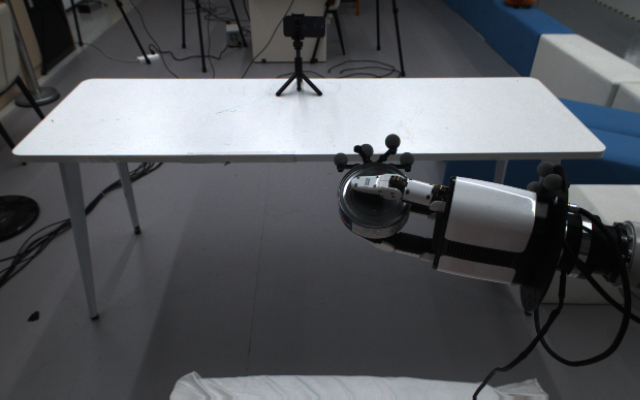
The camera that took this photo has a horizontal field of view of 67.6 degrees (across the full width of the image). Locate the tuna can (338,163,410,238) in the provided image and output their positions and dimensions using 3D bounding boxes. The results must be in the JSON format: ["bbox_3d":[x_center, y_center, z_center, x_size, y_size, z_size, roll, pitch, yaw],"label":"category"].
[{"bbox_3d":[0.064,0.000,0.559,0.085,0.034,0.085,-2,58,3],"label":"tuna can"}]
